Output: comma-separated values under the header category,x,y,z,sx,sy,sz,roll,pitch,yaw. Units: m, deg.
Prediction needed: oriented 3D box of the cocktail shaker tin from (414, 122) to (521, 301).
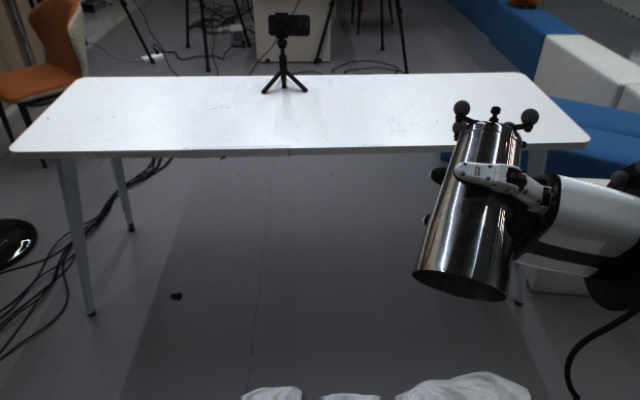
category,x,y,z,sx,sy,sz,roll,pitch,yaw
cocktail shaker tin,0.161,0.008,0.499,0.093,0.093,0.170,13,70,15
